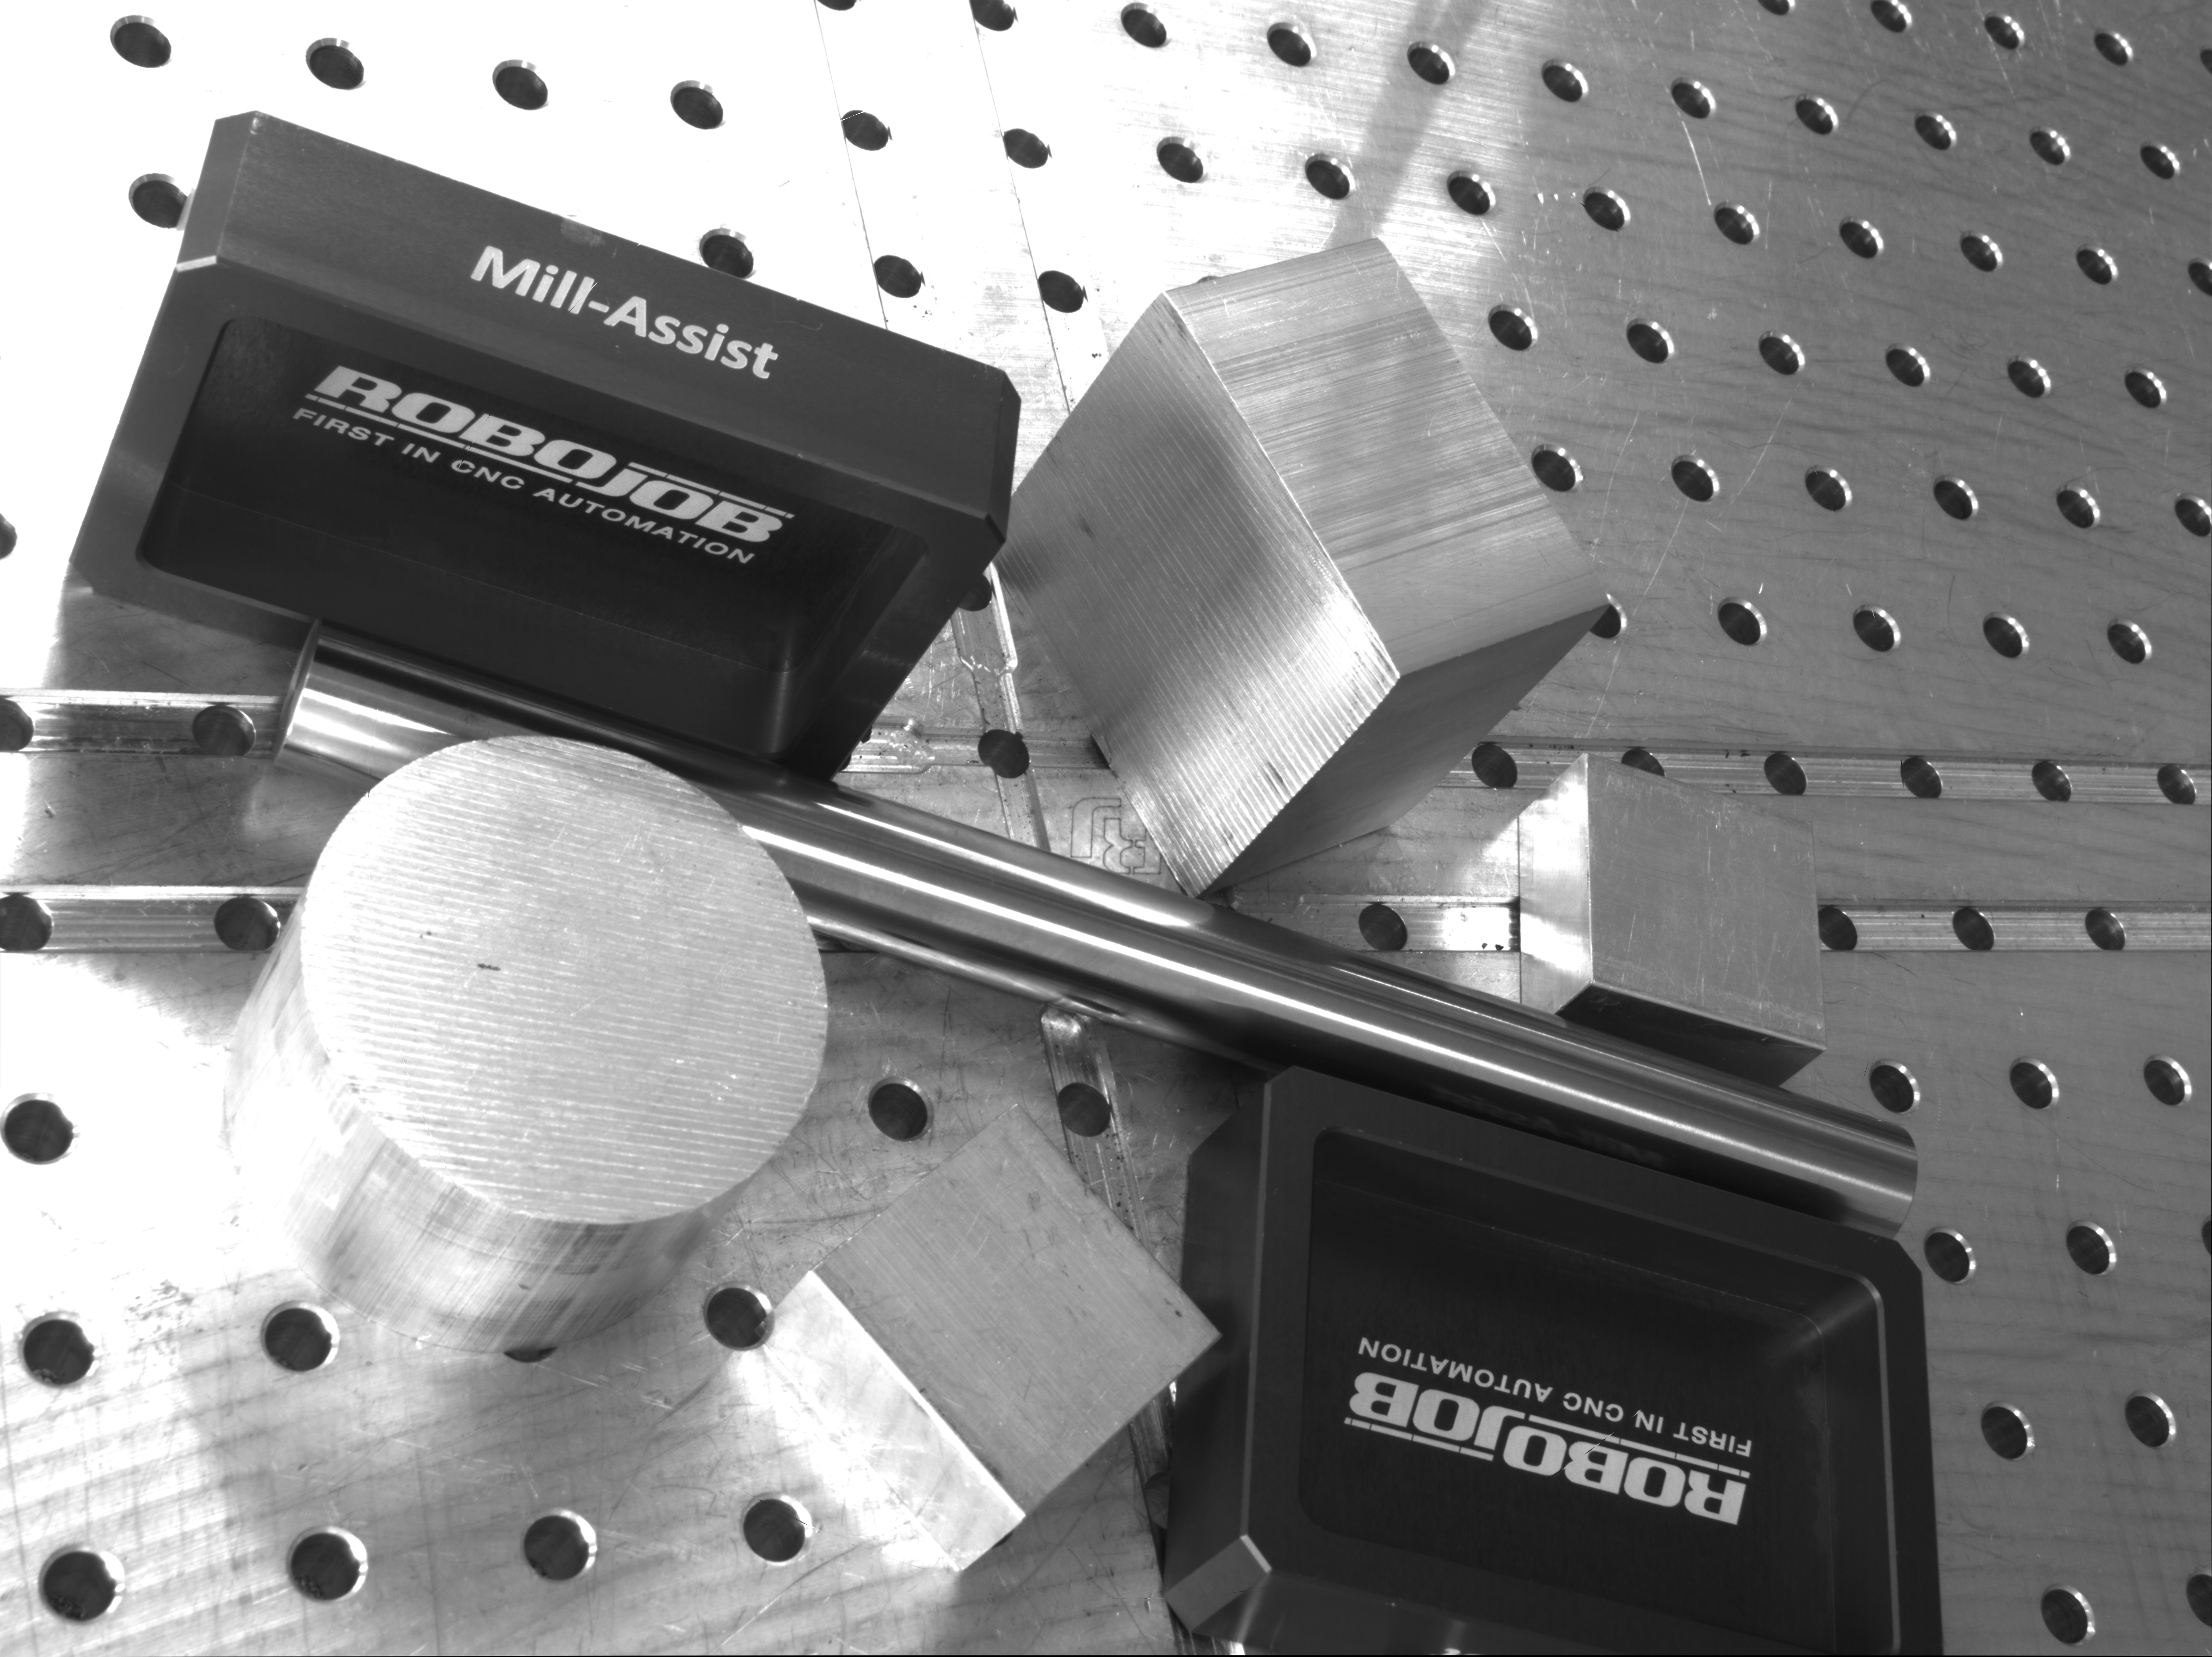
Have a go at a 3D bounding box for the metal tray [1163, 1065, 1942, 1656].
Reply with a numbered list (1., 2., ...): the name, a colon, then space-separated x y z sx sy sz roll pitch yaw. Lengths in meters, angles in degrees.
1. metal tray: 0.077 0.101 0.618 0.130 0.030 0.090 17 55 -18

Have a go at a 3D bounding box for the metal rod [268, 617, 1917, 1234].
1. metal rod: 0.006 0.023 0.631 0.301 0.025 0.025 18 55 -18

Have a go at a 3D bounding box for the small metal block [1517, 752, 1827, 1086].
1. small metal block: 0.105 0.019 0.686 0.050 0.025 0.050 16 55 -19

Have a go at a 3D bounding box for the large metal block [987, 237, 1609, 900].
1. large metal block: 0.031 -0.045 0.652 0.050 0.080 0.080 -20 72 -35

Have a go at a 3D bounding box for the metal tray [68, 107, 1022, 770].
1. metal tray: -0.090 -0.056 0.584 0.130 0.090 0.030 17 55 -18

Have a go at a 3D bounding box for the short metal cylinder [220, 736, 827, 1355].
1. short metal cylinder: -0.089 0.033 0.557 0.080 0.050 0.080 14 56 -21

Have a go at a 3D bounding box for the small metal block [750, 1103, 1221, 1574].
1. small metal block: -0.019 0.081 0.583 0.050 0.025 0.050 48 51 6
